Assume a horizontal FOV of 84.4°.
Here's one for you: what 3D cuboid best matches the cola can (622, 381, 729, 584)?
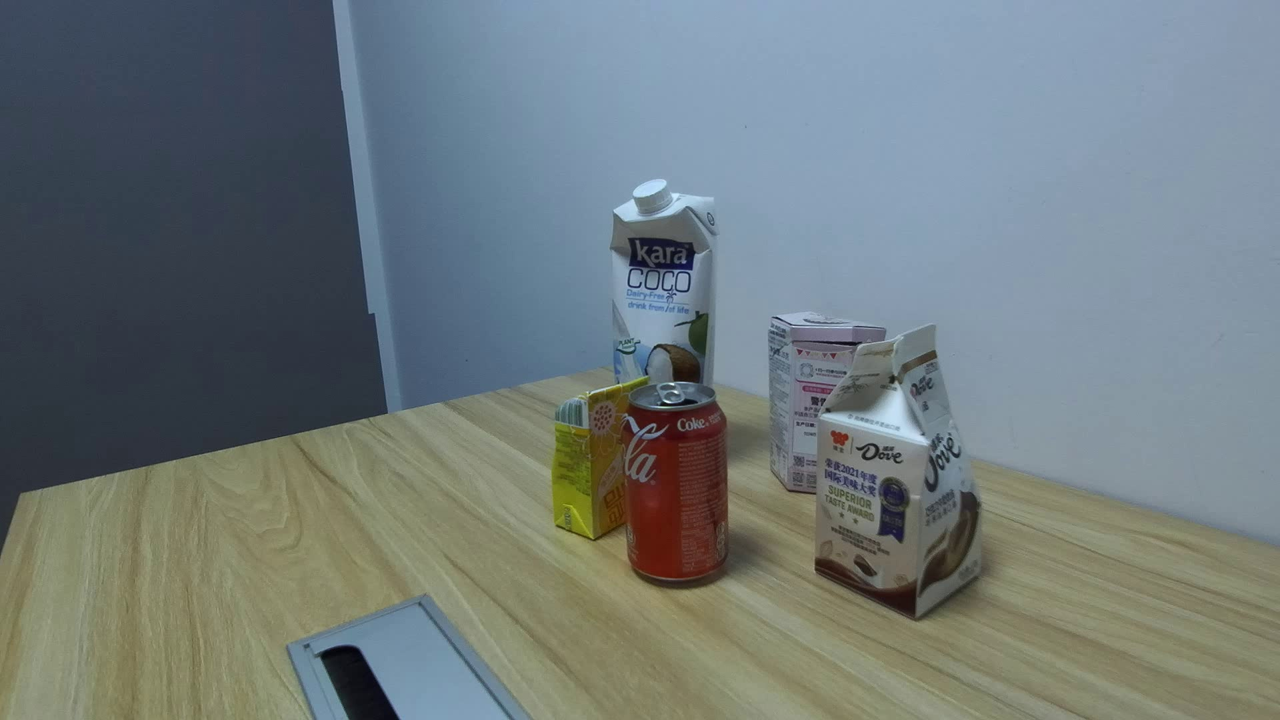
[{"bbox_3d":[0.023,0.076,0.449,0.068,0.120,0.068,-3,14,1],"label":"cola can"}]

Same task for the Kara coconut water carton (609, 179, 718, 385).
[{"bbox_3d":[0.023,-0.027,0.601,0.099,0.244,0.071,3,15,27],"label":"Kara coconut water carton"}]

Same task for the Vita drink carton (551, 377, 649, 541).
[{"bbox_3d":[-0.028,0.066,0.517,0.046,0.109,0.071,11,18,40],"label":"Vita drink carton"}]

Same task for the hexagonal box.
[{"bbox_3d":[0.150,0.032,0.575,0.092,0.135,0.085,3,15,23],"label":"hexagonal box"}]
